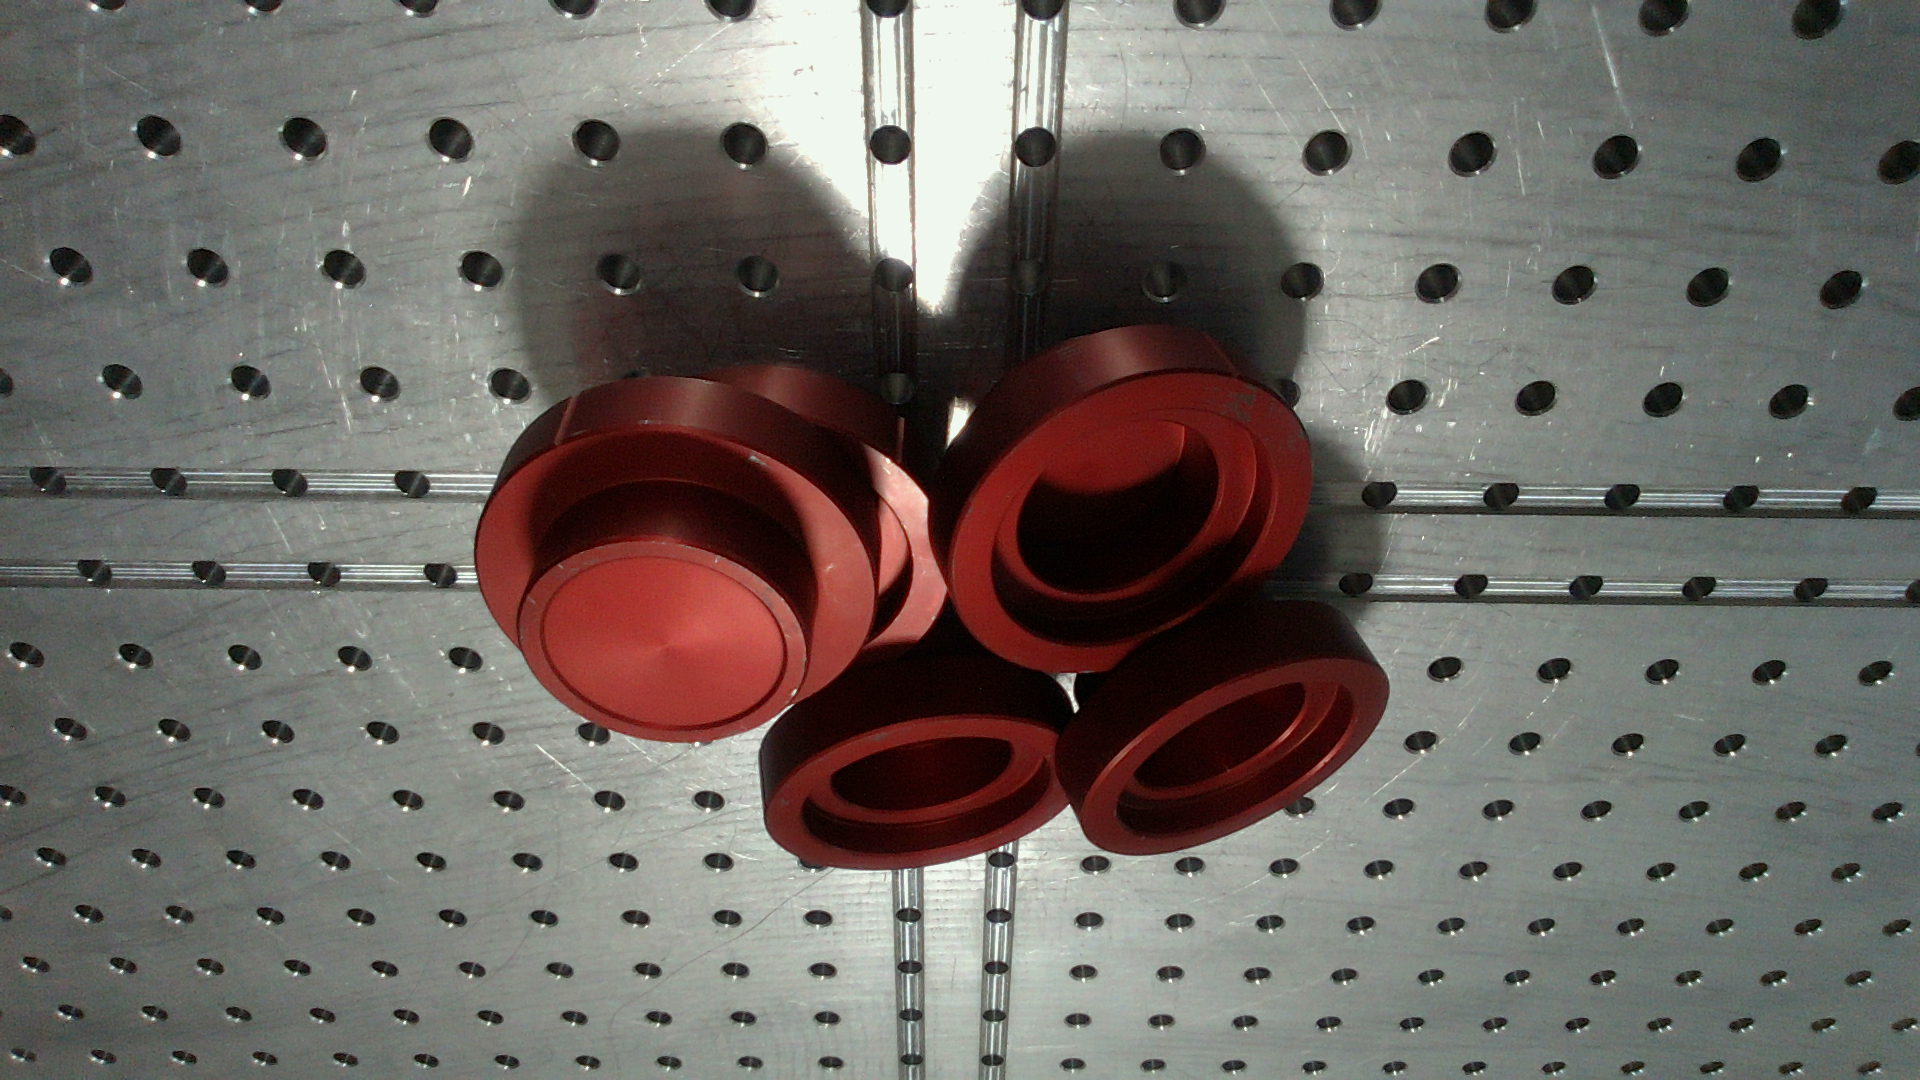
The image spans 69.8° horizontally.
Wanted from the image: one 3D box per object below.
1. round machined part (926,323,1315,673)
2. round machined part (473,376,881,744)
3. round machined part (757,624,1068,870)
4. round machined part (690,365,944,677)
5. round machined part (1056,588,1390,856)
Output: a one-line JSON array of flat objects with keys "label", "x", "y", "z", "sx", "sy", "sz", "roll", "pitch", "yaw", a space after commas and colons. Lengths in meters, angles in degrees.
[{"label": "round machined part", "x": 0.038, "y": -0.015, "z": 0.359, "sx": 0.098, "sy": 0.042, "sz": 0.098, "roll": -11, "pitch": 132, "yaw": -12}, {"label": "round machined part", "x": -0.069, "y": 0.012, "z": 0.337, "sx": 0.098, "sy": 0.042, "sz": 0.098, "roll": 0, "pitch": 130, "yaw": 0}, {"label": "round machined part", "x": -0.013, "y": 0.062, "z": 0.423, "sx": 0.098, "sy": 0.042, "sz": 0.098, "roll": -8, "pitch": 145, "yaw": -6}, {"label": "round machined part", "x": -0.051, "y": -0.007, "z": 0.376, "sx": 0.098, "sy": 0.042, "sz": 0.098, "roll": 0, "pitch": 130, "yaw": 0}, {"label": "round machined part", "x": 0.073, "y": 0.049, "z": 0.409, "sx": 0.098, "sy": 0.042, "sz": 0.098, "roll": -17, "pitch": 143, "yaw": -13}]
